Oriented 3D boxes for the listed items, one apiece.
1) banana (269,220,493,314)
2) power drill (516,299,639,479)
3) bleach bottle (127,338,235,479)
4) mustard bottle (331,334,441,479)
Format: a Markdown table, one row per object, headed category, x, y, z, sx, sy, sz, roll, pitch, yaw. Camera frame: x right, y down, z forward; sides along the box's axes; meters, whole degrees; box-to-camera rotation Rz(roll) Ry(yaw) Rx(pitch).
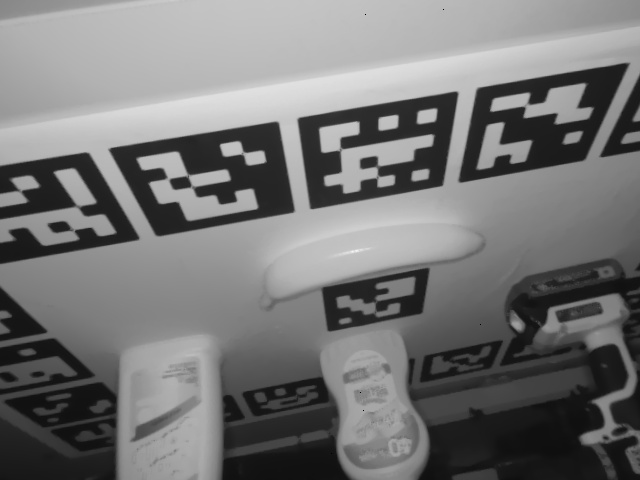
| category | x | y | z | sx | sy | sz | roll | pitch | yaw |
| --- | --- | --- | --- | --- | --- | --- | --- | --- | --- |
| banana | 0.045 | 0.017 | 0.568 | 0.198 | 0.039 | 0.074 | -15 | 142 | 0 |
| power drill | 0.257 | 0.159 | 0.654 | 0.185 | 0.187 | 0.057 | -16 | 143 | 0 |
| bleach bottle | -0.119 | 0.214 | 0.620 | 0.103 | 0.252 | 0.067 | -4 | 143 | -8 |
| mustard bottle | 0.070 | 0.193 | 0.700 | 0.096 | 0.192 | 0.058 | -13 | 143 | 5 |
